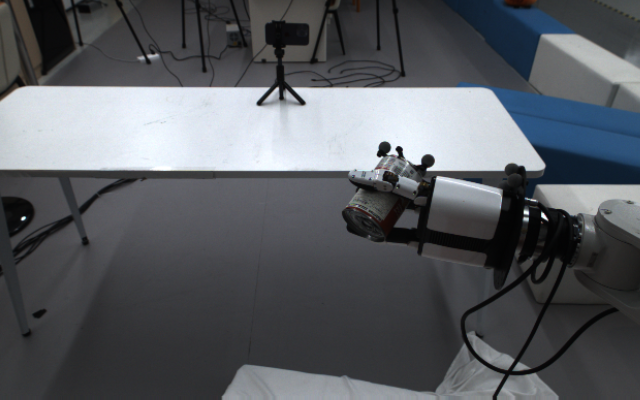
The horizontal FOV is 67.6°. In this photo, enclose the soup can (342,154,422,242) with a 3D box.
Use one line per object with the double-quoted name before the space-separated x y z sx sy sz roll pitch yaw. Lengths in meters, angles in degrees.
"soup can" 0.085 -0.005 0.654 0.067 0.067 0.101 25 66 30
